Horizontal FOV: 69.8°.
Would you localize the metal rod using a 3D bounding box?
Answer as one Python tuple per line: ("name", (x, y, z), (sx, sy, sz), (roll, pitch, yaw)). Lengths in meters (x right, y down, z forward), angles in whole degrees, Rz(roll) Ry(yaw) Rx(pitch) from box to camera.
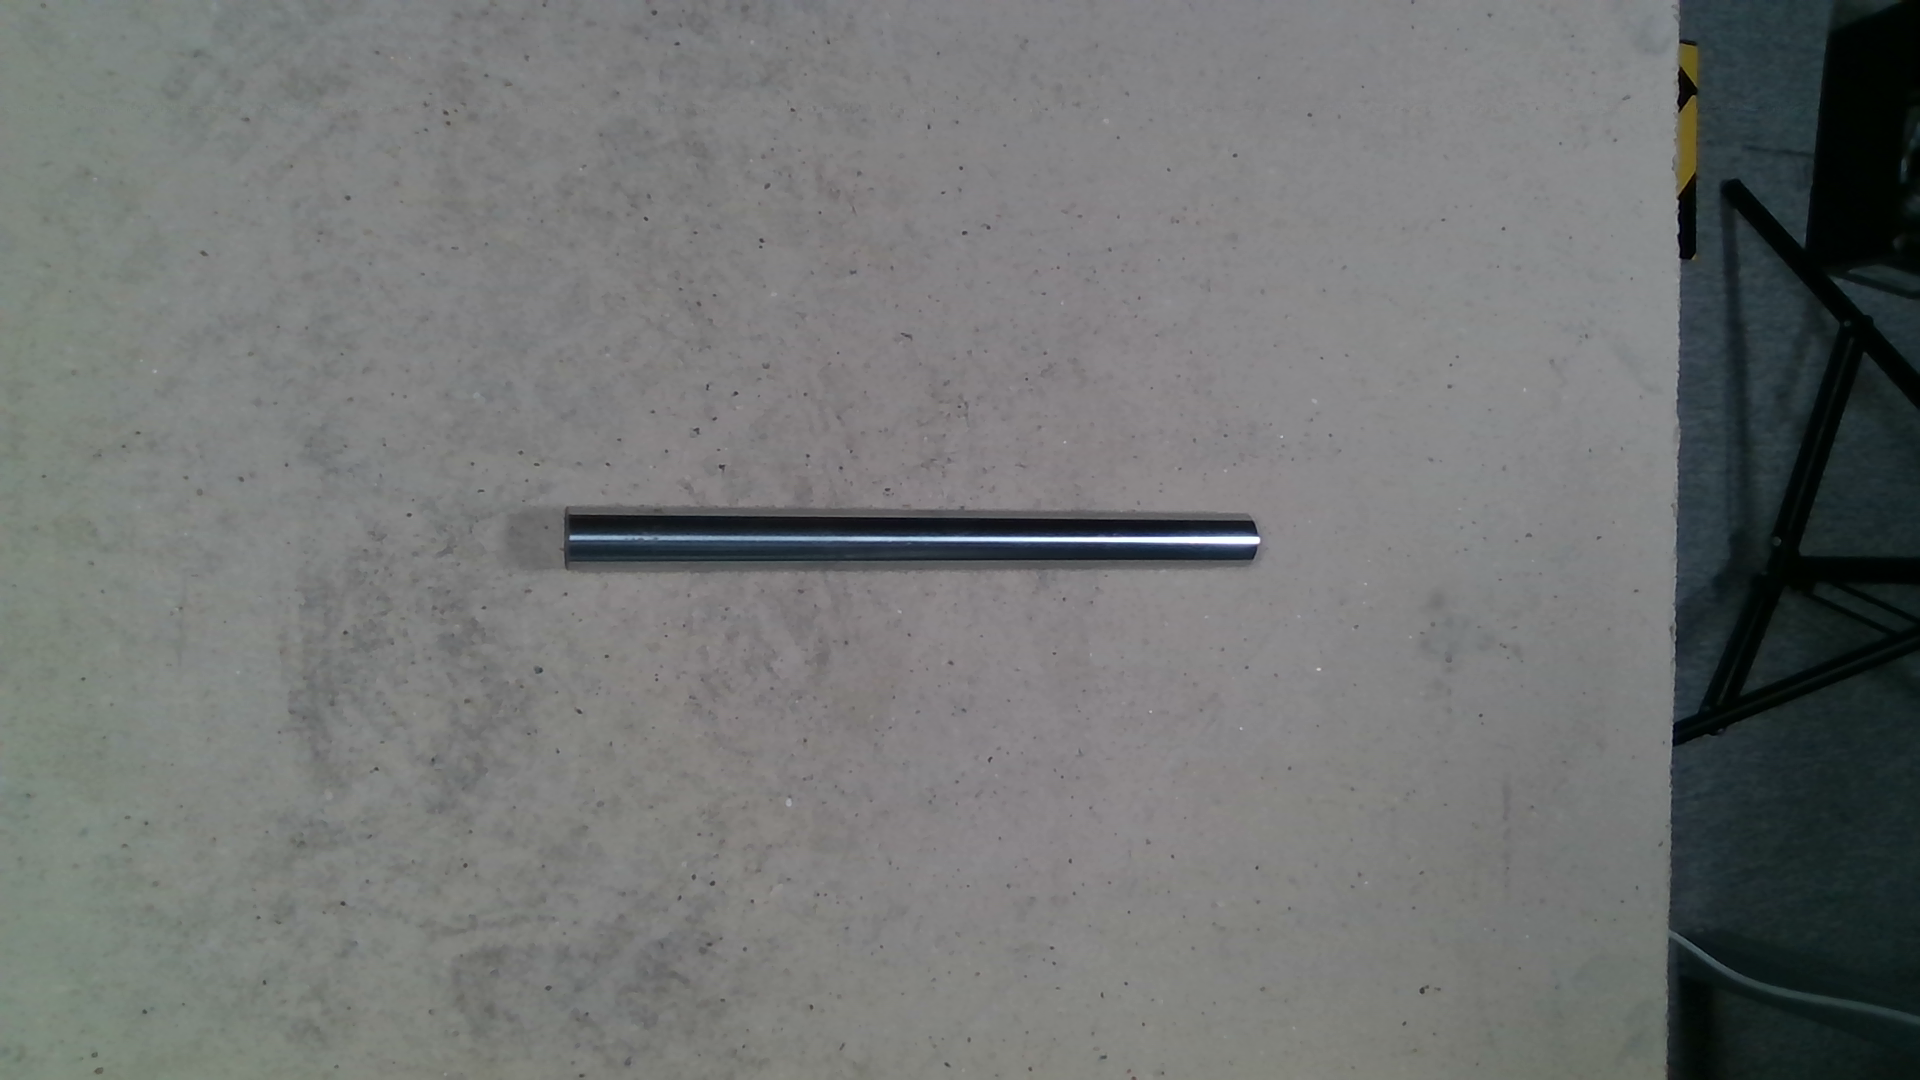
("metal rod", (-0.011, -0.001, 0.582), (0.300, 0.025, 0.025), (0, 90, -20))
